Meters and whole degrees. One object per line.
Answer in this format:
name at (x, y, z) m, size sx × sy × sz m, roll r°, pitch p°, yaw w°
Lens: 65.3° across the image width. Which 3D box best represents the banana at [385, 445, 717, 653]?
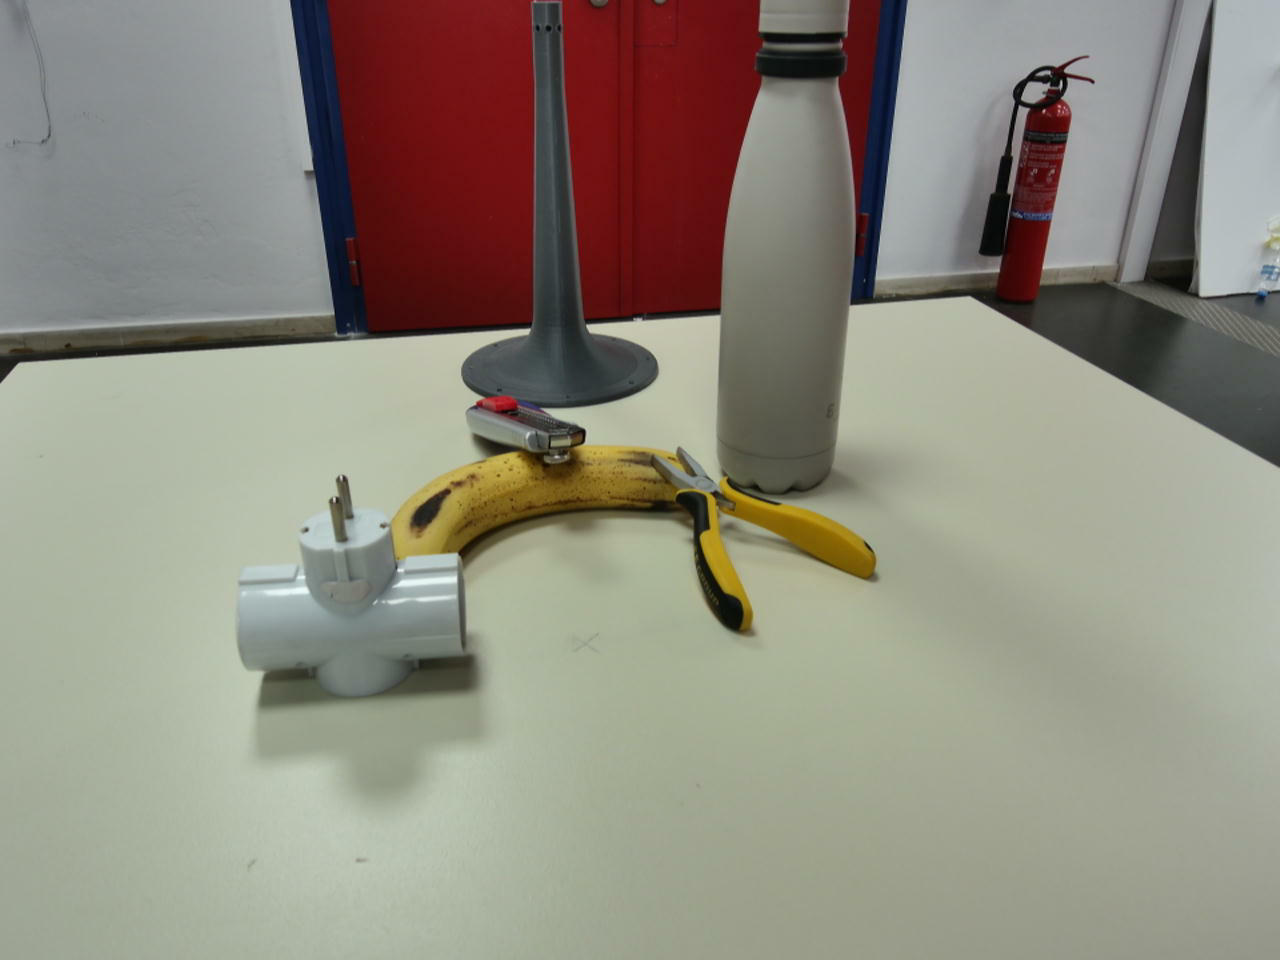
banana at (-0.055, 0.016, 0.531) m, size 0.186 × 0.038 × 0.097 m, roll -20°, pitch 32°, yaw -36°
